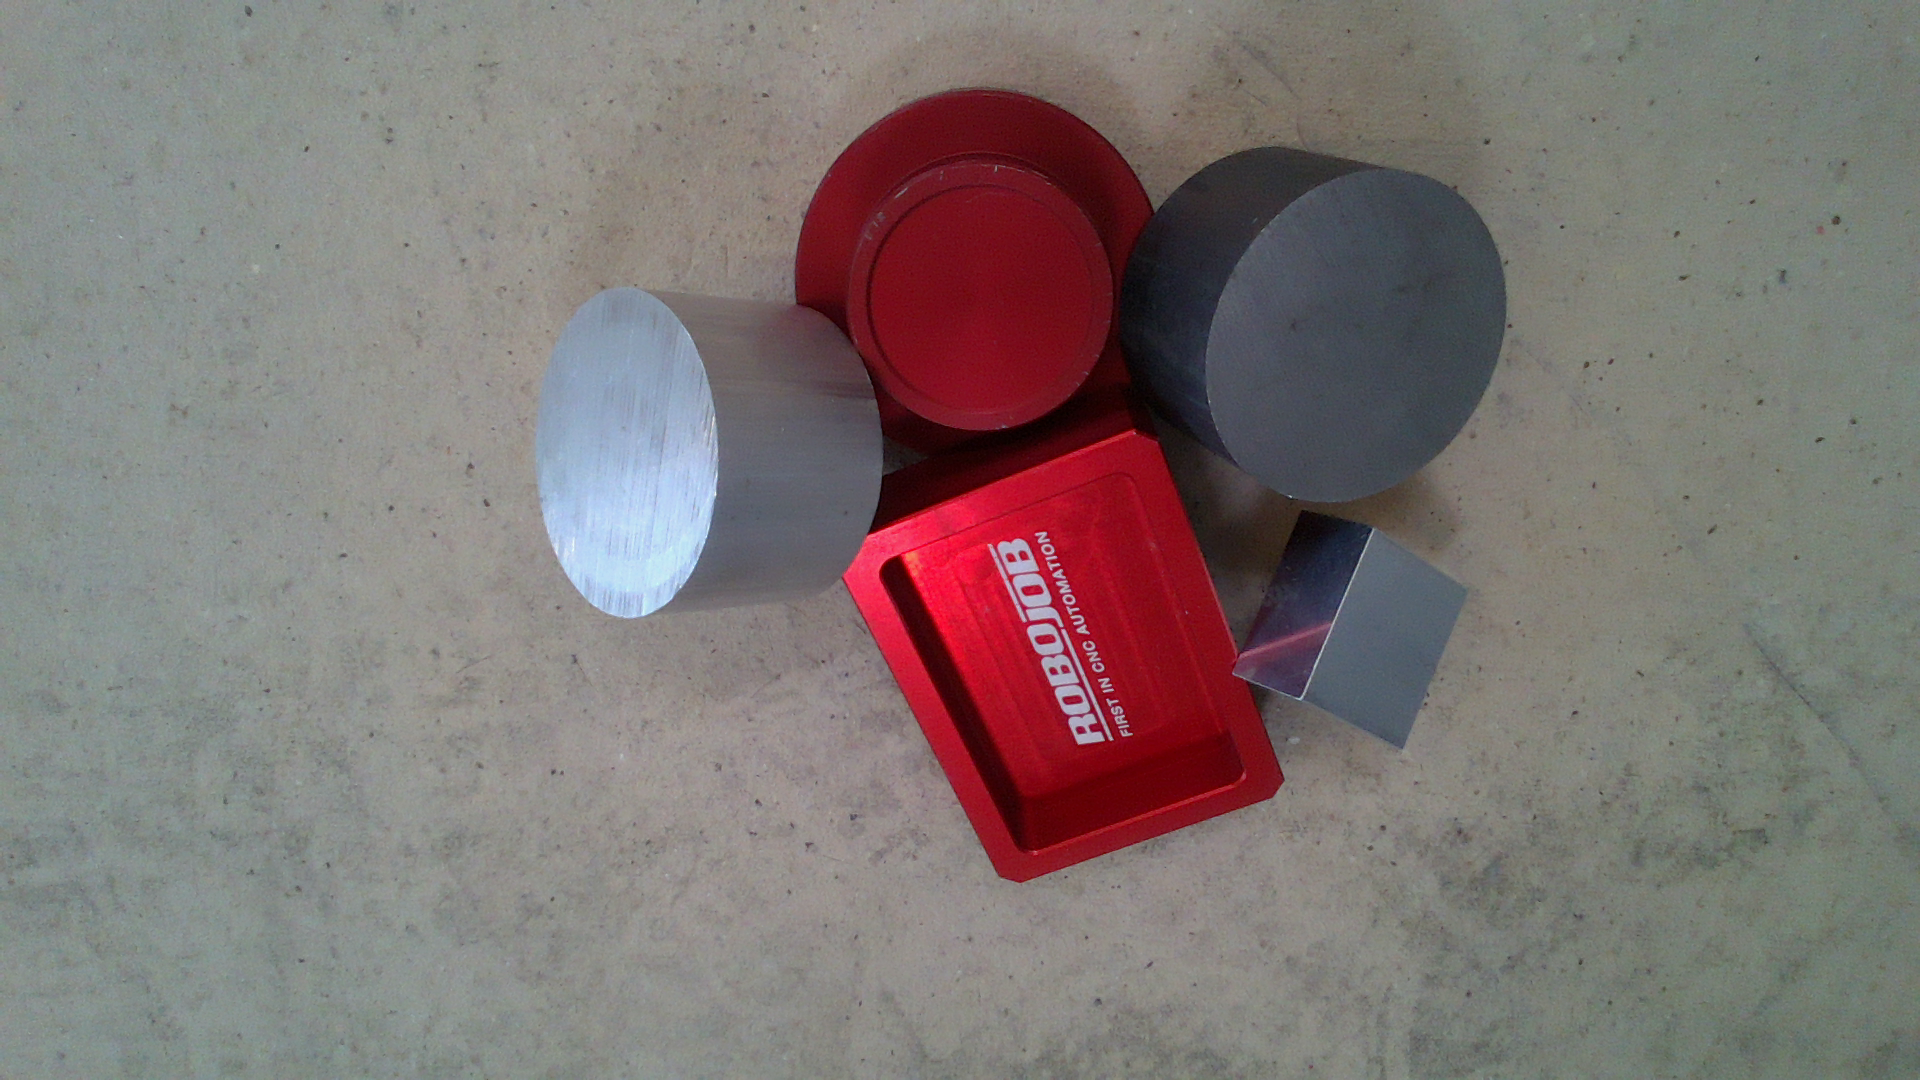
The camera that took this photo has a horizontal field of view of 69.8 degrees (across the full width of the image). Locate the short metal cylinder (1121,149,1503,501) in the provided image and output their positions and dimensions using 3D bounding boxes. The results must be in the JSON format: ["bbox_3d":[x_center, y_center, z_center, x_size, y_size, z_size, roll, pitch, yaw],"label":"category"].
[{"bbox_3d":[0.088,-0.056,0.350,0.080,0.050,0.080,-7,113,-16],"label":"short metal cylinder"}]

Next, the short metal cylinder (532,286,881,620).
[{"bbox_3d":[-0.066,-0.022,0.349,0.050,0.080,0.080,-4,118,-46],"label":"short metal cylinder"}]

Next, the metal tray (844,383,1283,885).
[{"bbox_3d":[0.029,0.031,0.391,0.090,0.030,0.130,-21,118,7],"label":"metal tray"}]

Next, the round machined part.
[{"bbox_3d":[0.005,-0.067,0.361,0.098,0.042,0.098,0,110,0],"label":"round machined part"}]

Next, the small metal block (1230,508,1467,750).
[{"bbox_3d":[0.109,0.025,0.385,0.050,0.025,0.050,27,85,-37],"label":"small metal block"}]
